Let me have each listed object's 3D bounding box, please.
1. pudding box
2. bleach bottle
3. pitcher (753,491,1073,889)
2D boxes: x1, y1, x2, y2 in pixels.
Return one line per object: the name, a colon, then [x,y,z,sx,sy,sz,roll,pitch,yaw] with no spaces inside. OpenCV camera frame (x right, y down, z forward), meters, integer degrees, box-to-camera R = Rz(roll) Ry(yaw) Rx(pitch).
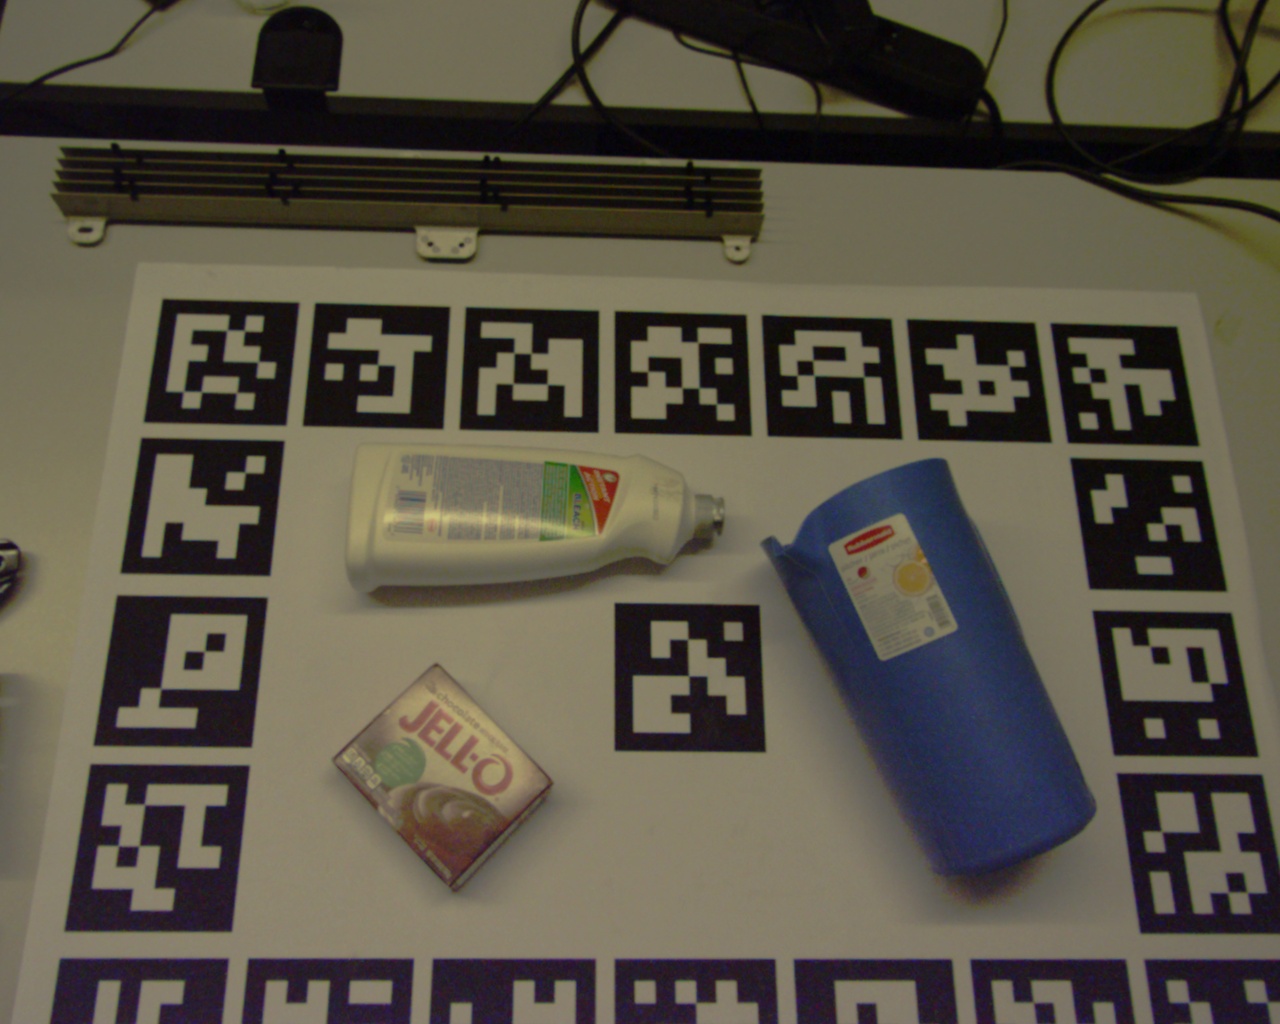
pudding box: [-0.129,0.180,0.753,0.089,0.039,0.114,-41,80,-21]
bleach bottle: [-0.070,0.014,0.807,0.250,0.068,0.103,-1,76,-6]
pitcher: [0.192,0.115,0.770,0.186,0.134,0.243,-13,75,-44]
